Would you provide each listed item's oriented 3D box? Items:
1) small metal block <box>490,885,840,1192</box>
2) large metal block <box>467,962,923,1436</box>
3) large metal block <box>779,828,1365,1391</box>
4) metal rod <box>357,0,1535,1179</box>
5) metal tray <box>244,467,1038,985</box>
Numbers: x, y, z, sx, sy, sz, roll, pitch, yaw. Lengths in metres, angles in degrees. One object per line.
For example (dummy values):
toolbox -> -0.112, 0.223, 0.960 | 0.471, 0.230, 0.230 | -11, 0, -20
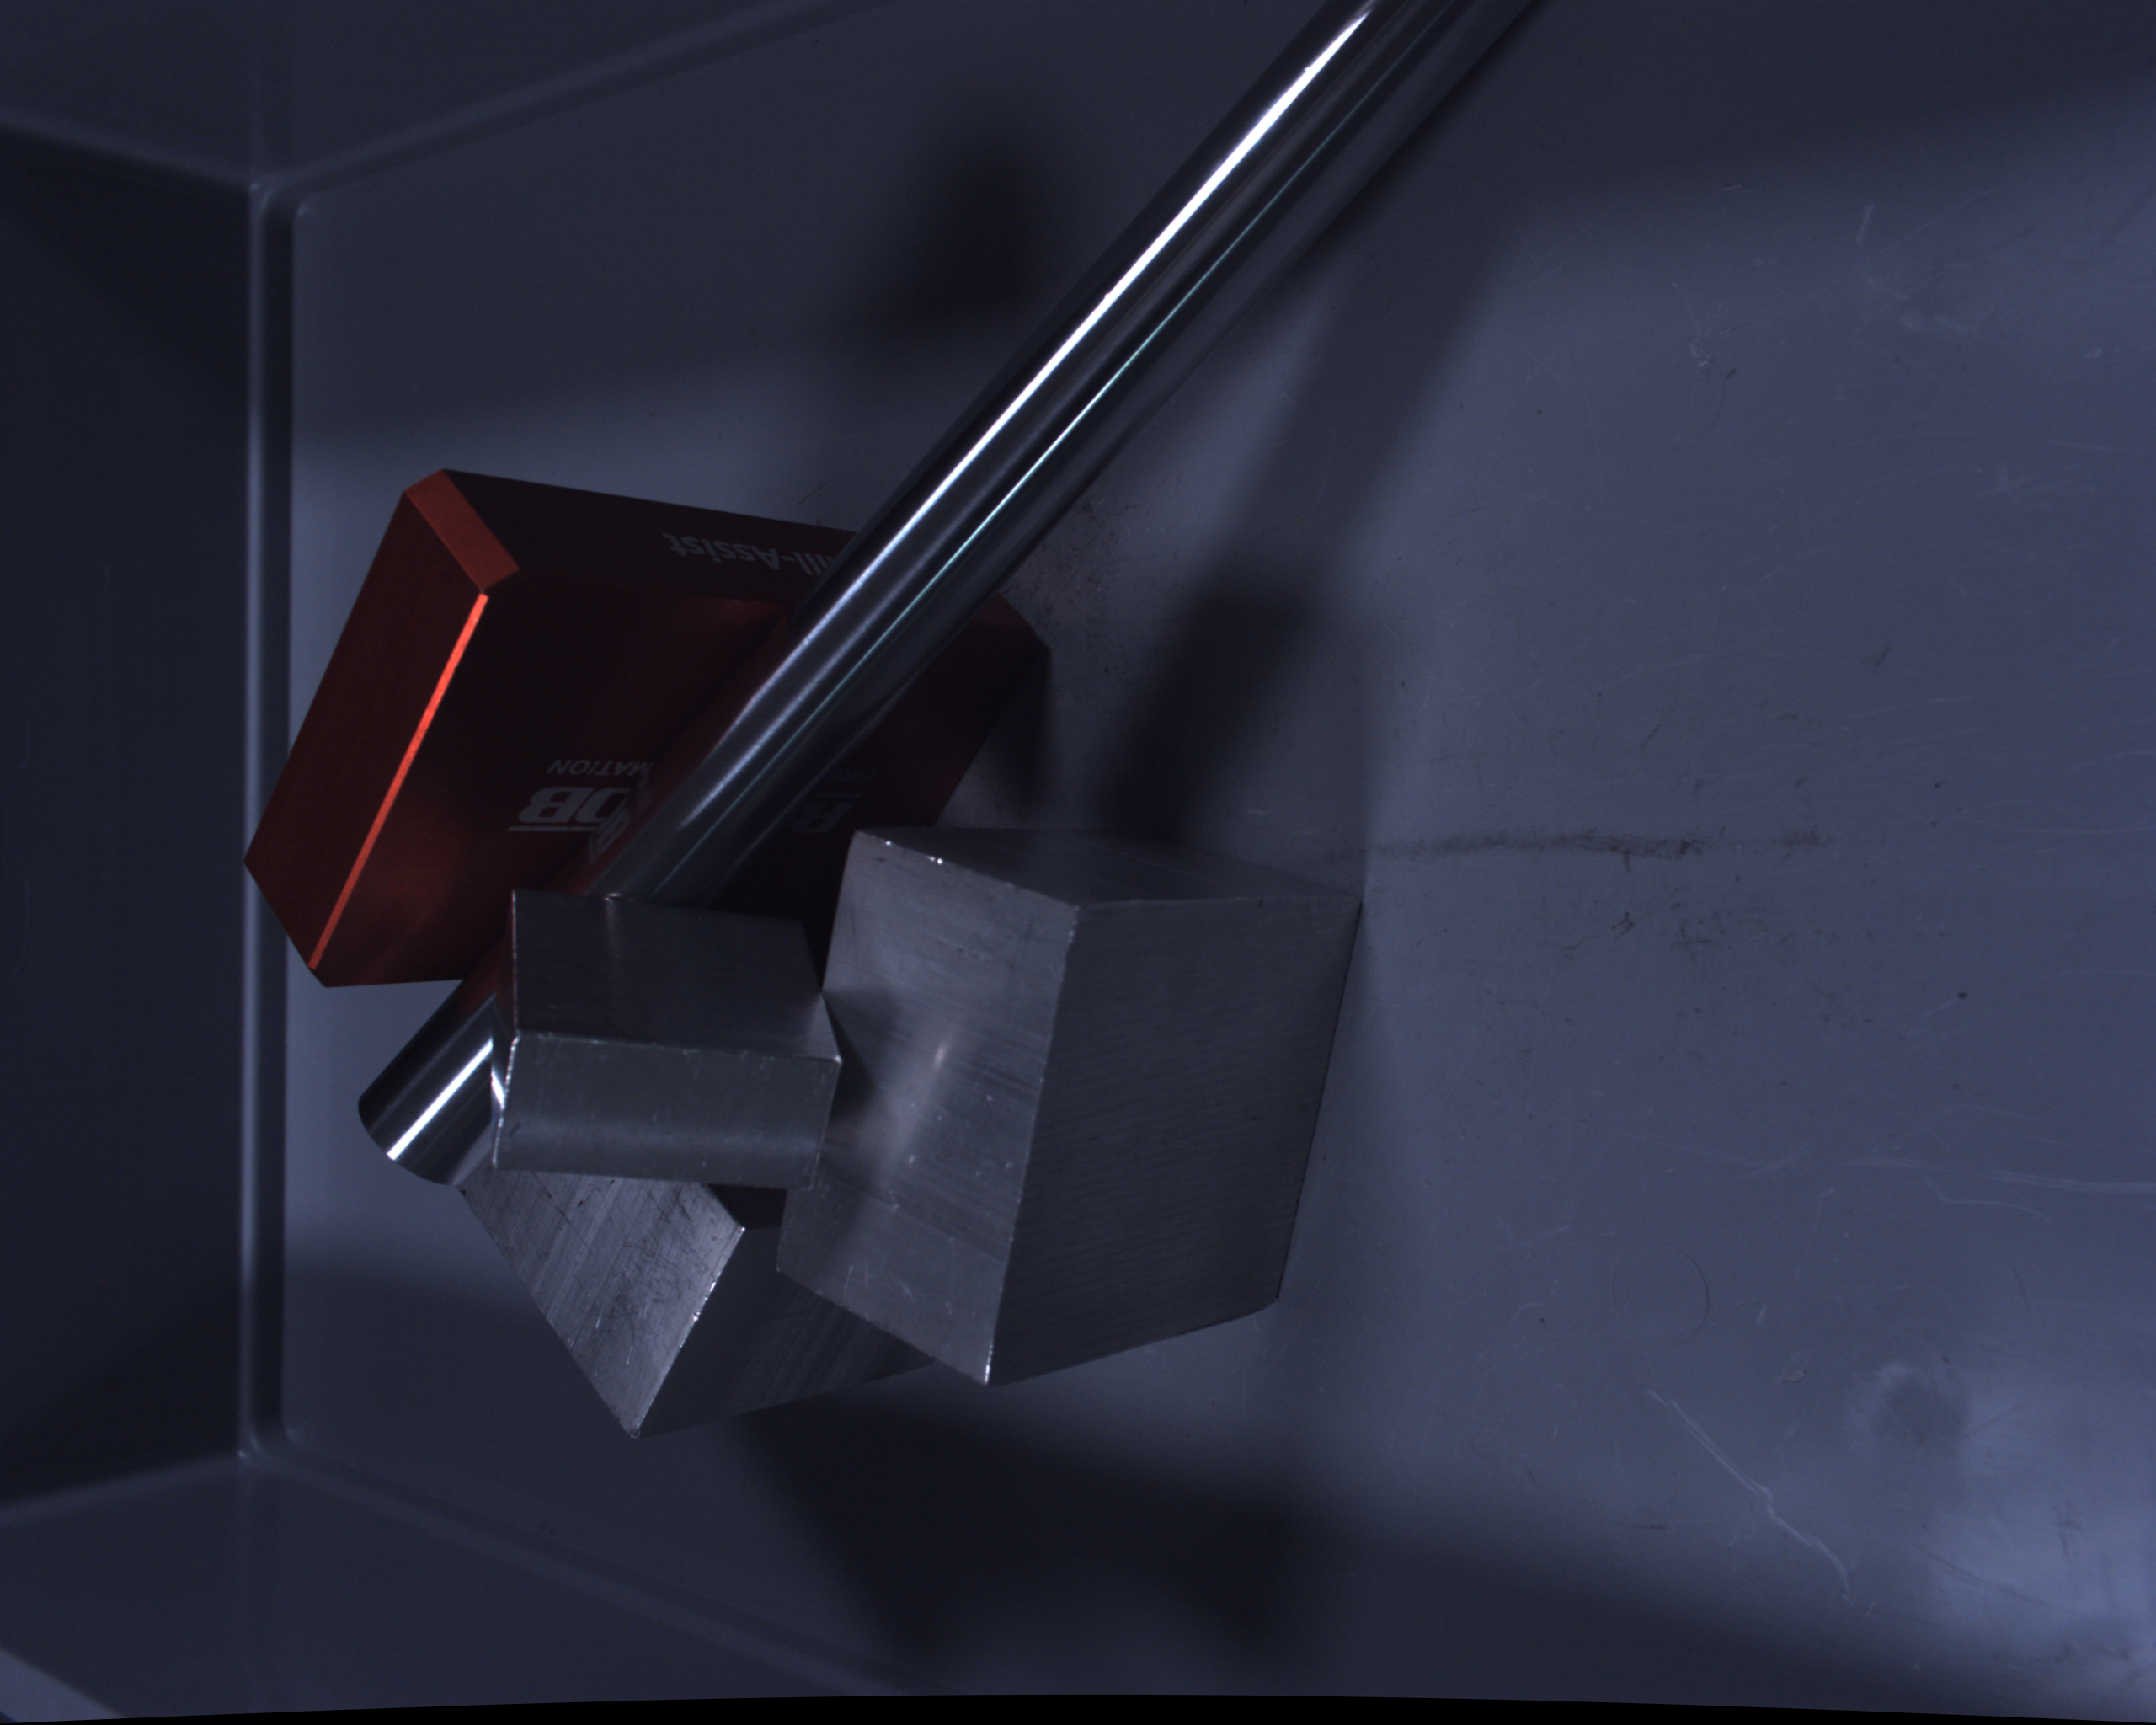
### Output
small metal block -> -0.070, 0.029, 0.348 | 0.050, 0.050, 0.025 | -119, 40, -60
large metal block -> -0.068, 0.061, 0.425 | 0.080, 0.081, 0.050 | 44, 116, 31
large metal block -> 0.000, 0.039, 0.368 | 0.050, 0.081, 0.079 | 17, 101, 38
metal rod -> -0.022, -0.057, 0.363 | 0.299, 0.025, 0.025 | -47, 61, 10
metal tray -> -0.079, -0.022, 0.399 | 0.030, 0.131, 0.089 | 48, 120, 30
